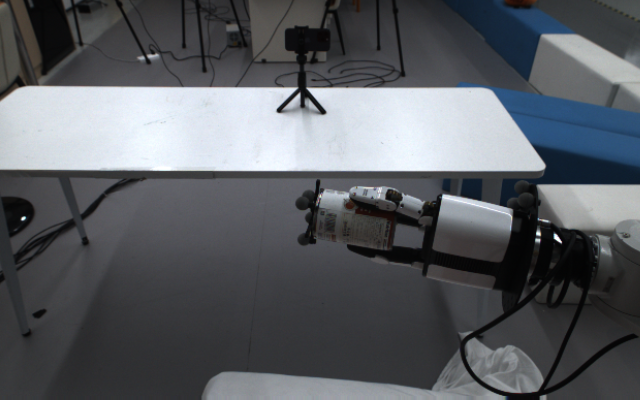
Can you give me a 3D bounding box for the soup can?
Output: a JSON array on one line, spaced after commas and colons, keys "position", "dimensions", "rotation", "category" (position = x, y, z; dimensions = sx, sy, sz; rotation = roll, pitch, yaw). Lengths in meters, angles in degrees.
[{"position": [0.050, 0.025, 0.623], "dimensions": [0.101, 0.067, 0.067], "rotation": [9, 35, 9], "category": "soup can"}]
